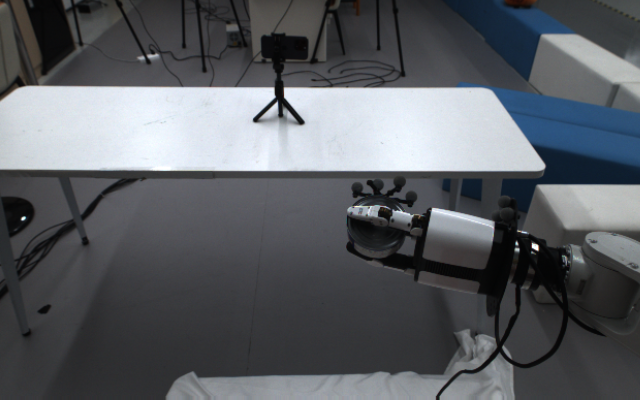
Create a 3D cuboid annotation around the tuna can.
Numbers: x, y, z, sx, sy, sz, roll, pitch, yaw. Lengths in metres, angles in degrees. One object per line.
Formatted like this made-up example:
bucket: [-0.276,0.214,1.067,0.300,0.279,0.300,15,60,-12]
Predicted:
tuna can: [0.081,0.033,0.678,0.085,0.034,0.085,-2,57,3]
